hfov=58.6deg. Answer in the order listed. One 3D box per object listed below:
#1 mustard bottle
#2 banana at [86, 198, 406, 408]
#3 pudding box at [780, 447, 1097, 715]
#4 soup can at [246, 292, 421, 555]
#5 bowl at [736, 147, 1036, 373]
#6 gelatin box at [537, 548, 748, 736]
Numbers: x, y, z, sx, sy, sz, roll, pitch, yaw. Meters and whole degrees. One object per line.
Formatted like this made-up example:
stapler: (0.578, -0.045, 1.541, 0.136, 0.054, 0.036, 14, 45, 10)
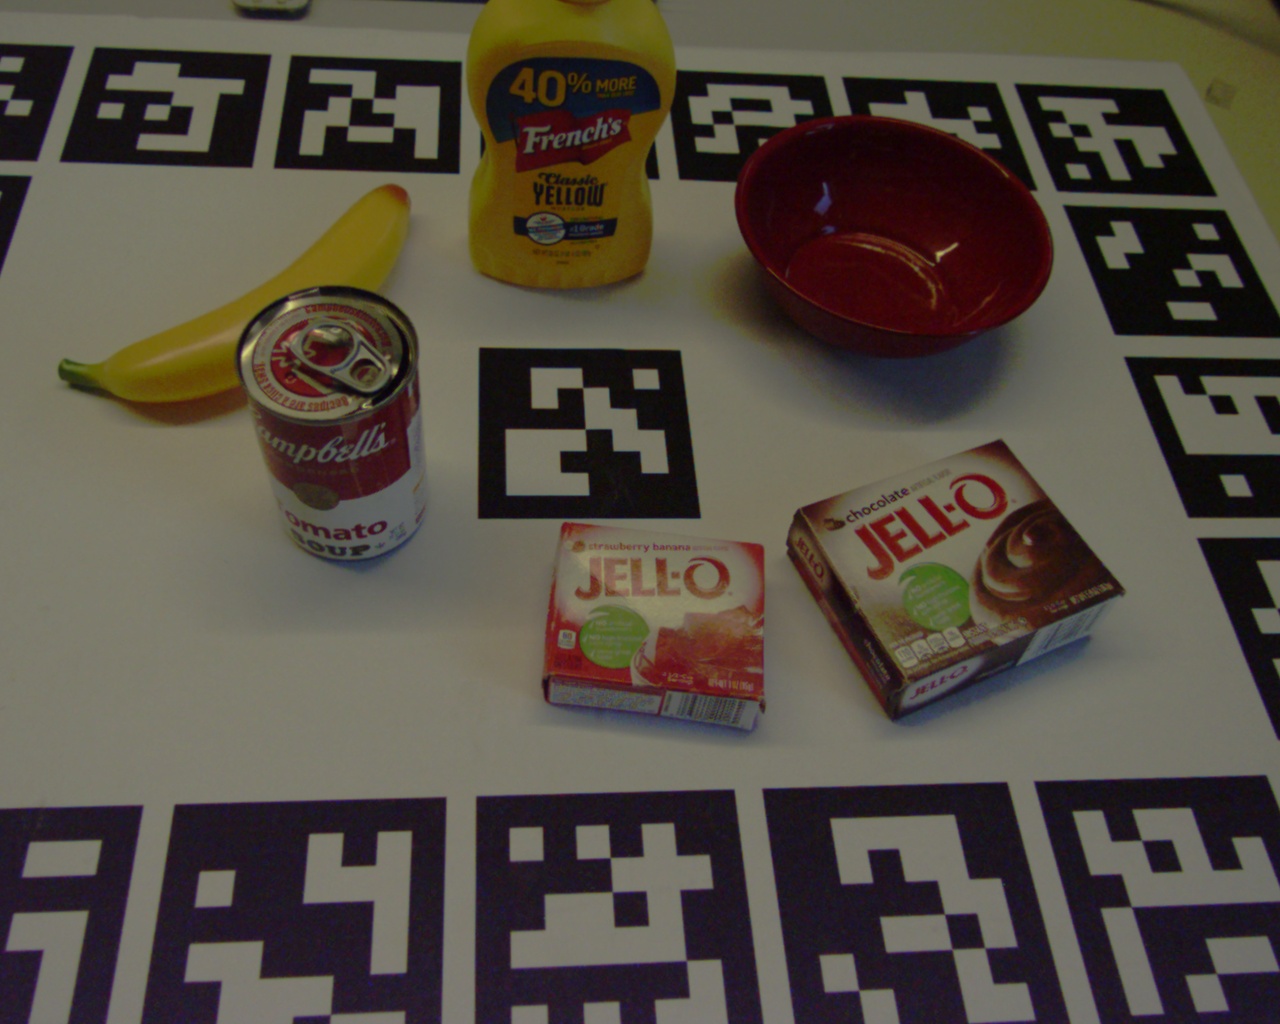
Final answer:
mustard bottle: (-0.031, -0.189, 0.556, 0.096, 0.191, 0.059, 1, 53, -7)
banana: (-0.184, -0.107, 0.589, 0.075, 0.038, 0.196, 30, 57, 25)
pudding box: (0.136, 0.030, 0.529, 0.113, 0.038, 0.090, -21, 66, -19)
soup can: (-0.130, -0.036, 0.498, 0.068, 0.102, 0.068, 4, 54, -6)
bowl: (0.130, -0.130, 0.631, 0.161, 0.055, 0.162, 2, 55, -3)
gelatin box: (0.002, 0.056, 0.503, 0.089, 0.030, 0.073, 5, 59, -2)
